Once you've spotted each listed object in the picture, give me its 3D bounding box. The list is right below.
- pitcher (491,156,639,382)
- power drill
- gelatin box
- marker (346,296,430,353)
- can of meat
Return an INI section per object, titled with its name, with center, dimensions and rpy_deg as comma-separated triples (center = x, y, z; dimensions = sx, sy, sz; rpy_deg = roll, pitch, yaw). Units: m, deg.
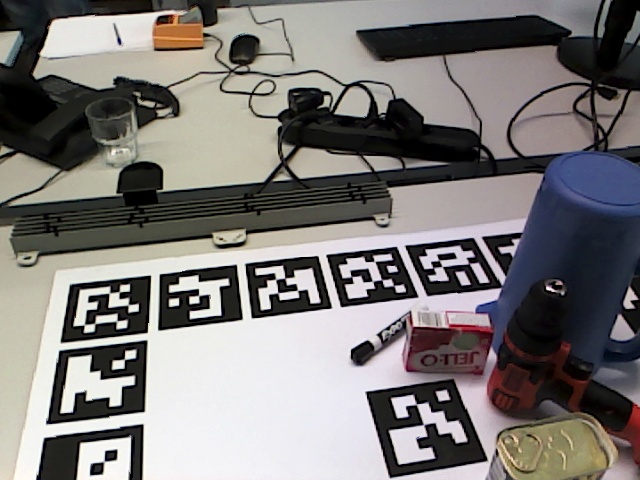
[pitcher]
center = 0.286, 0.038, 0.663
dimensions = 0.190, 0.241, 0.133
rpy_deg = 12, 46, 22
[power drill]
center = 0.255, 0.128, 0.595
dimensions = 0.188, 0.184, 0.057
rpy_deg = 22, 48, 15
[gelatin box]
center = 0.144, 0.114, 0.694
dimensions = 0.089, 0.073, 0.030
rpy_deg = 3, 45, 0
[marker]
center = 0.081, 0.101, 0.744
dimensions = 0.120, 0.019, 0.020
rpy_deg = -26, 48, -25
[can of meat]
center = 0.199, 0.212, 0.570
dimensions = 0.101, 0.083, 0.058
rpy_deg = -6, 40, -8
